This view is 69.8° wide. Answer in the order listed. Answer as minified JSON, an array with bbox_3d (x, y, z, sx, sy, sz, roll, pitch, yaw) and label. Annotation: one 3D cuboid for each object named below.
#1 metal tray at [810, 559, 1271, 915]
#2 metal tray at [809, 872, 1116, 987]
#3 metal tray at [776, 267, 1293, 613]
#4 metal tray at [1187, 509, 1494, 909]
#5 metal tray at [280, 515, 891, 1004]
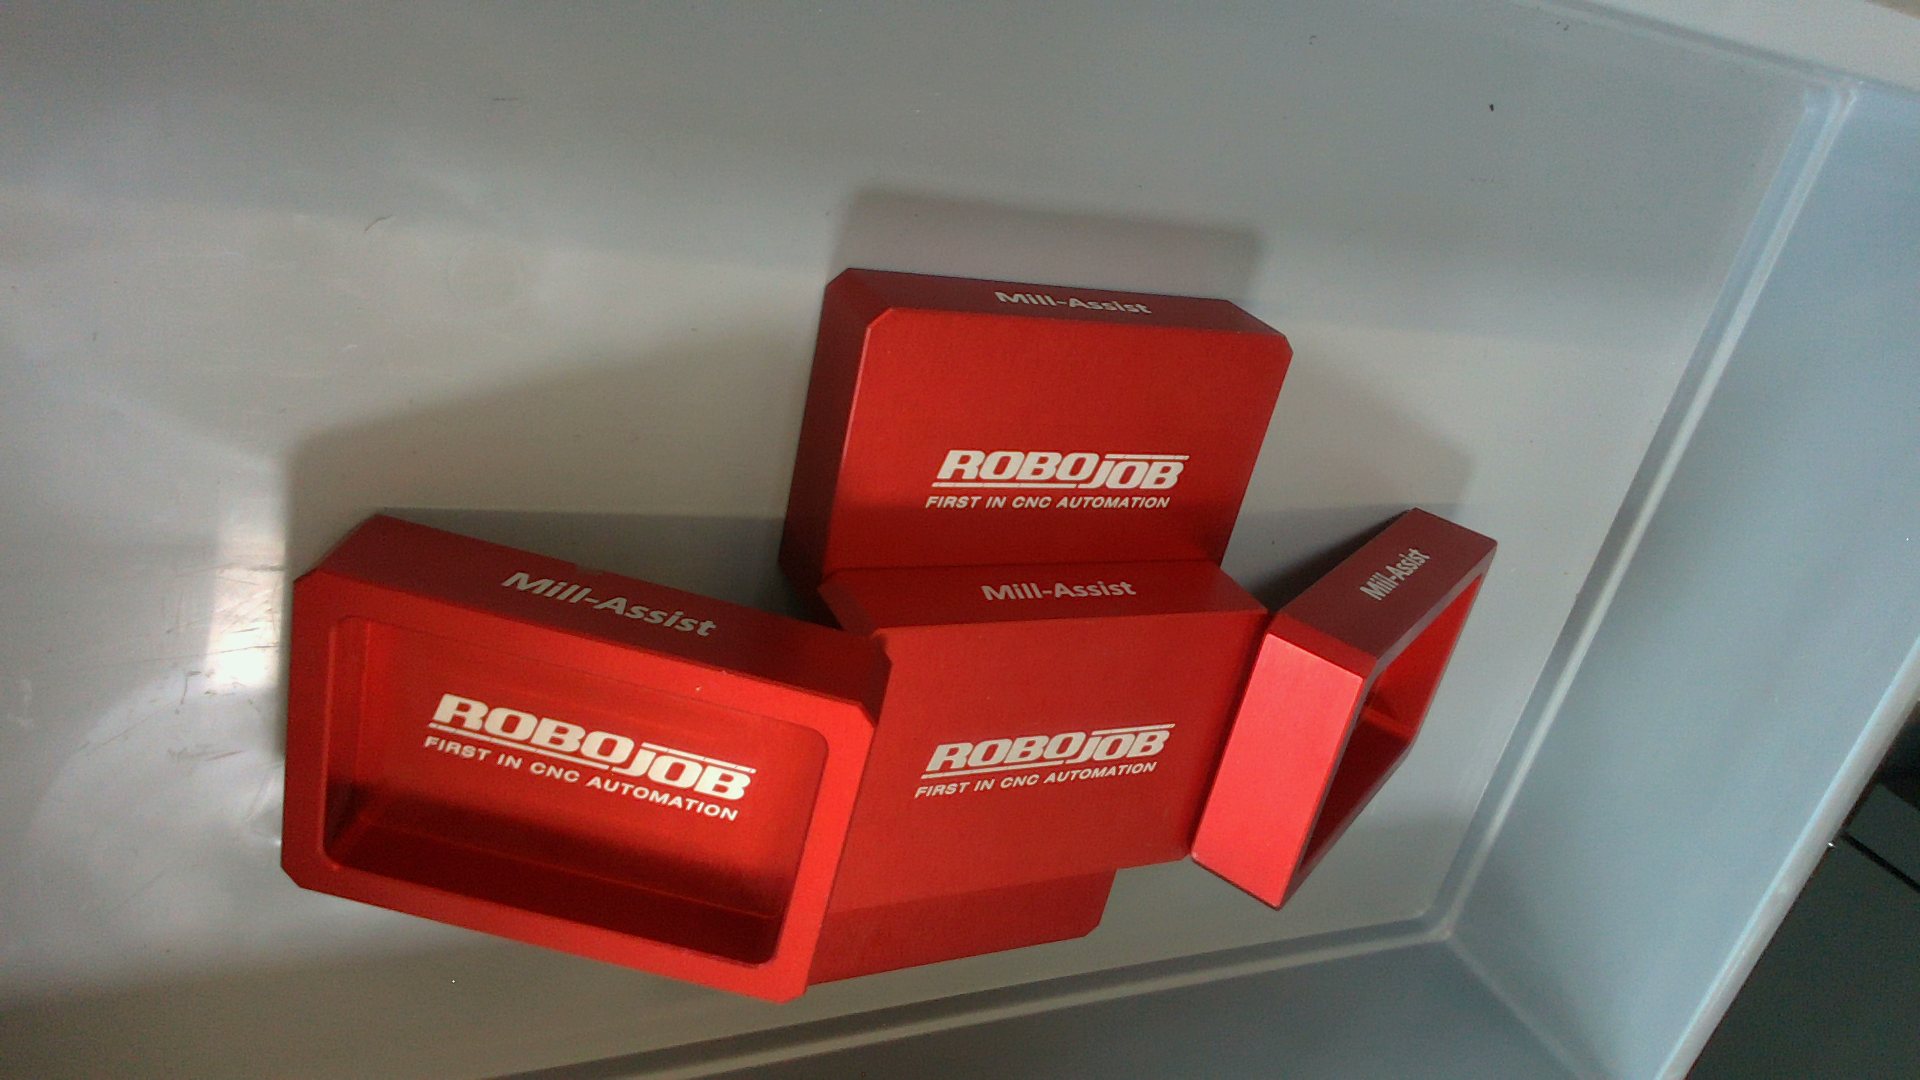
[{"bbox_3d":[0.018,0.053,0.388,0.130,0.030,0.090,-2,119,-28],"label":"metal tray"},{"bbox_3d":[-0.007,0.091,0.435,0.130,0.030,0.090,-1,119,-28],"label":"metal tray"},{"bbox_3d":[0.021,-0.023,0.381,0.130,0.030,0.090,-1,119,-28],"label":"metal tray"},{"bbox_3d":[0.125,0.050,0.442,0.131,0.030,0.090,-25,135,-51],"label":"metal tray"},{"bbox_3d":[-0.090,0.054,0.330,0.130,0.030,0.090,14,115,-3],"label":"metal tray"}]
